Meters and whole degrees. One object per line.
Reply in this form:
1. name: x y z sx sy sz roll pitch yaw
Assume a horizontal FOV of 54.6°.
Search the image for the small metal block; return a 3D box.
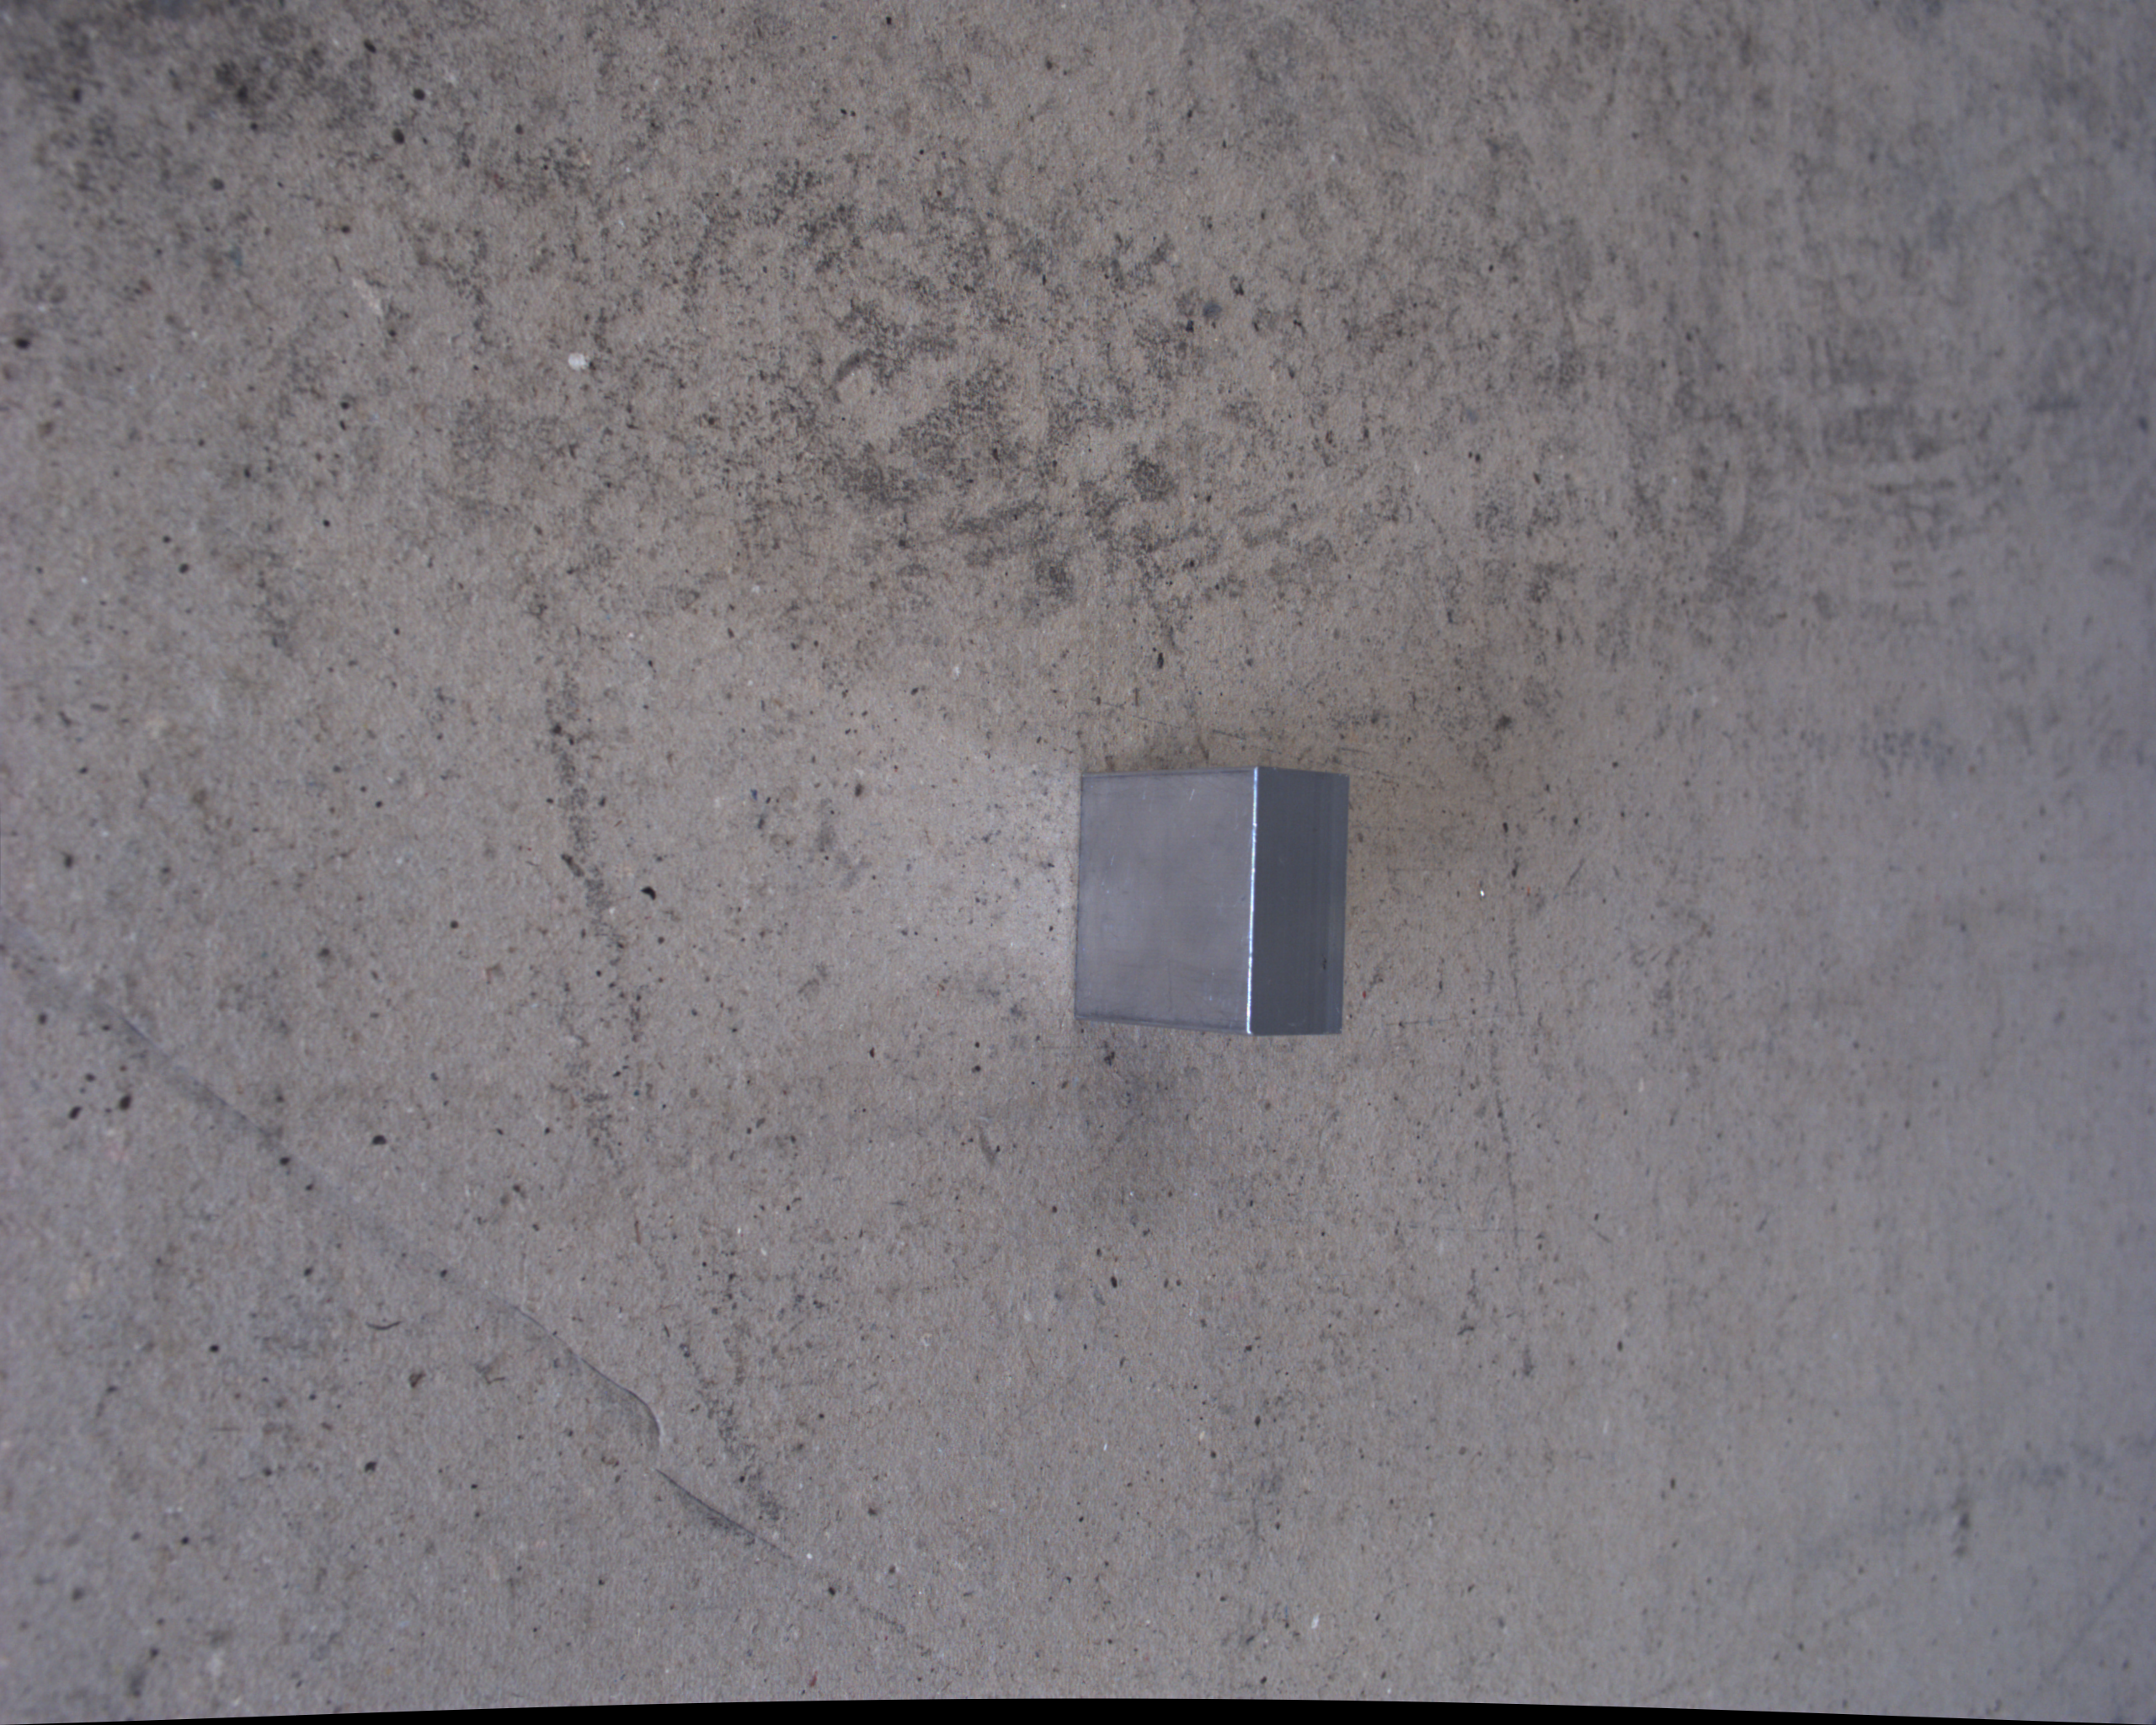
1. small metal block: 0.025 0.007 0.410 0.025 0.050 0.050 3 89 -41
